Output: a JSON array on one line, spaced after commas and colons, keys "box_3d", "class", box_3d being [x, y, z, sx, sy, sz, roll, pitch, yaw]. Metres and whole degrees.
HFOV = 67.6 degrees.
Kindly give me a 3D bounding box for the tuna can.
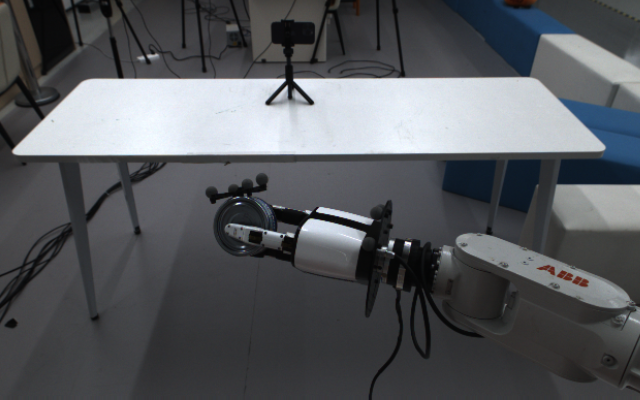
[{"box_3d": [-0.102, 0.043, 0.680, 0.085, 0.085, 0.034, 12, 3, 14], "class": "tuna can"}]
